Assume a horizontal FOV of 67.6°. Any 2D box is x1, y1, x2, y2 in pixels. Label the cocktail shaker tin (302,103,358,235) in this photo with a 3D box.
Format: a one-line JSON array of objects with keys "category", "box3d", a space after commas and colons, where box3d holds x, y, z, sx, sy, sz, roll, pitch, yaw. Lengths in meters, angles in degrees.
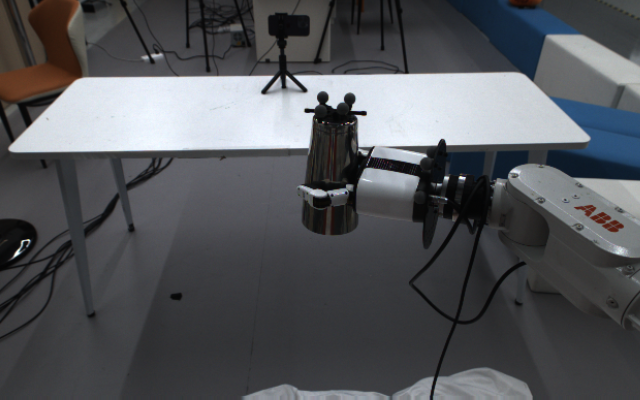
[{"category": "cocktail shaker tin", "box3d": [0.020, -0.044, 0.732, 0.093, 0.170, 0.093, 2, 28, -1]}]
